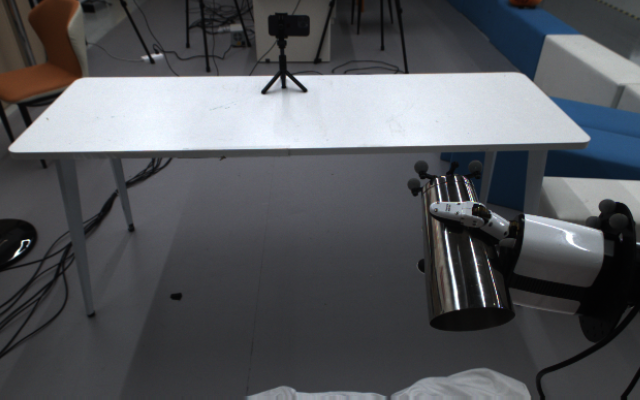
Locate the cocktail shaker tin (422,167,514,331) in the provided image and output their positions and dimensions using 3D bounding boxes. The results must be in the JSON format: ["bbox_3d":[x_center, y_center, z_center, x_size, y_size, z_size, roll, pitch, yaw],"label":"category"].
[{"bbox_3d":[0.164,0.057,0.569,0.093,0.093,0.170,0,59,-3],"label":"cocktail shaker tin"}]
